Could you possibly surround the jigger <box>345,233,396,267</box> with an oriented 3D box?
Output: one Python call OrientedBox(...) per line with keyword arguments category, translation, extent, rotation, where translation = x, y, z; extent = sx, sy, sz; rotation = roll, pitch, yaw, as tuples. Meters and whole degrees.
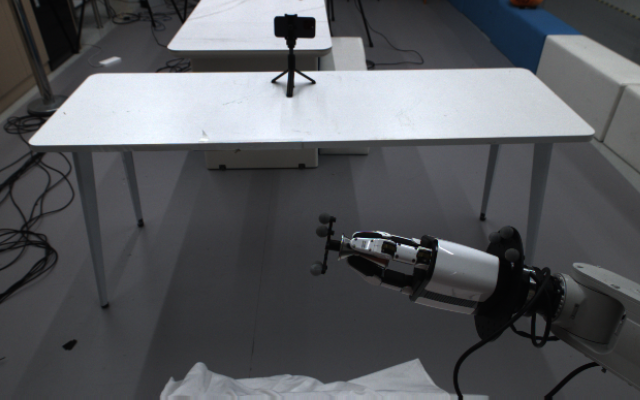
OrientedBox(category="jigger", translation=(0.068, 0.067, 0.671), extent=(0.071, 0.043, 0.043), rotation=(9, 35, 2))
